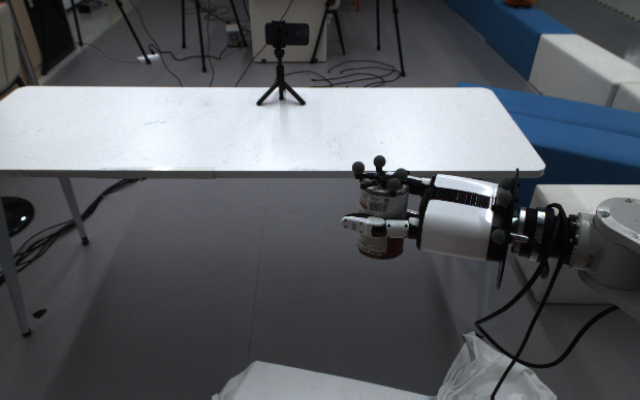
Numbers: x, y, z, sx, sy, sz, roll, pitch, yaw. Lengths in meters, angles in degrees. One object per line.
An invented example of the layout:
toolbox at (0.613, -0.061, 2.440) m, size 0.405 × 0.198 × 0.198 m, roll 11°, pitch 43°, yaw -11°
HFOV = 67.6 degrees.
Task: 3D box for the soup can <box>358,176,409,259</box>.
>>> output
soup can at (0.089, 0.022, 0.677) m, size 0.067 × 0.101 × 0.067 m, roll 1°, pitch 25°, yaw 0°
